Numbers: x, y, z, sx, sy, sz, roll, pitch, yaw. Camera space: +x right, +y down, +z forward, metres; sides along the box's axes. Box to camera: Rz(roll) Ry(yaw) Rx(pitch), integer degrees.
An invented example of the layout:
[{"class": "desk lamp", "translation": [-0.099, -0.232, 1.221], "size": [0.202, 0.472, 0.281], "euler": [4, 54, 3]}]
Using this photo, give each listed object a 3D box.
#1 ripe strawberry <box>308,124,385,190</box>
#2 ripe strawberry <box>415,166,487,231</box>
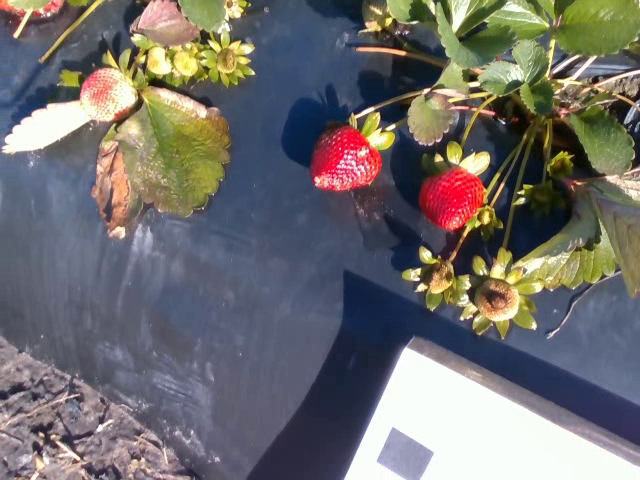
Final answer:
[{"class": "ripe strawberry", "translation": [0.009, -0.047, 0.319], "size": [0.050, 0.050, 0.045], "euler": [-41, -10, -41]}, {"class": "ripe strawberry", "translation": [0.075, -0.020, 0.302], "size": [0.042, 0.039, 0.049], "euler": [-20, 32, 29]}]
